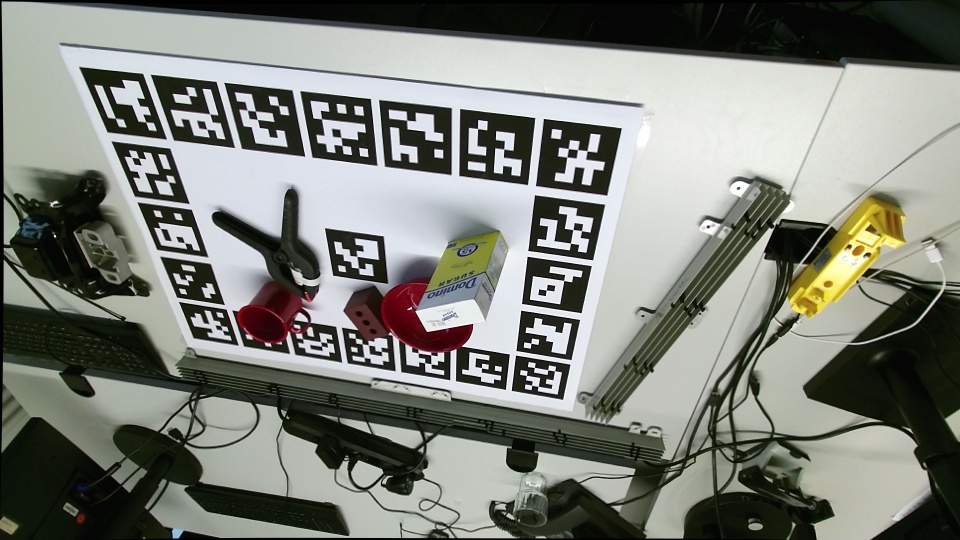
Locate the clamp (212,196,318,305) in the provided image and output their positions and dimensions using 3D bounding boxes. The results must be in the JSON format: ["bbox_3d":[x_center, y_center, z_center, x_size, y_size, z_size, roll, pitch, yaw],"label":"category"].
[{"bbox_3d":[-0.338,-0.017,0.914,0.166,0.036,0.203,-13,120,18],"label":"clamp"}]

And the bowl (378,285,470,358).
[{"bbox_3d":[-0.091,0.081,0.927,0.162,0.055,0.161,6,126,9],"label":"bowl"}]

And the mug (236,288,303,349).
[{"bbox_3d":[-0.379,0.093,0.978,0.117,0.081,0.093,31,125,-6],"label":"mug"}]

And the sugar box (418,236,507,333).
[{"bbox_3d":[-0.022,0.017,0.793,0.093,0.176,0.045,-13,119,22],"label":"sugar box"}]

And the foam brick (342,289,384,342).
[{"bbox_3d":[-0.206,0.083,0.962,0.053,0.051,0.078,-16,119,21],"label":"foam brick"}]
